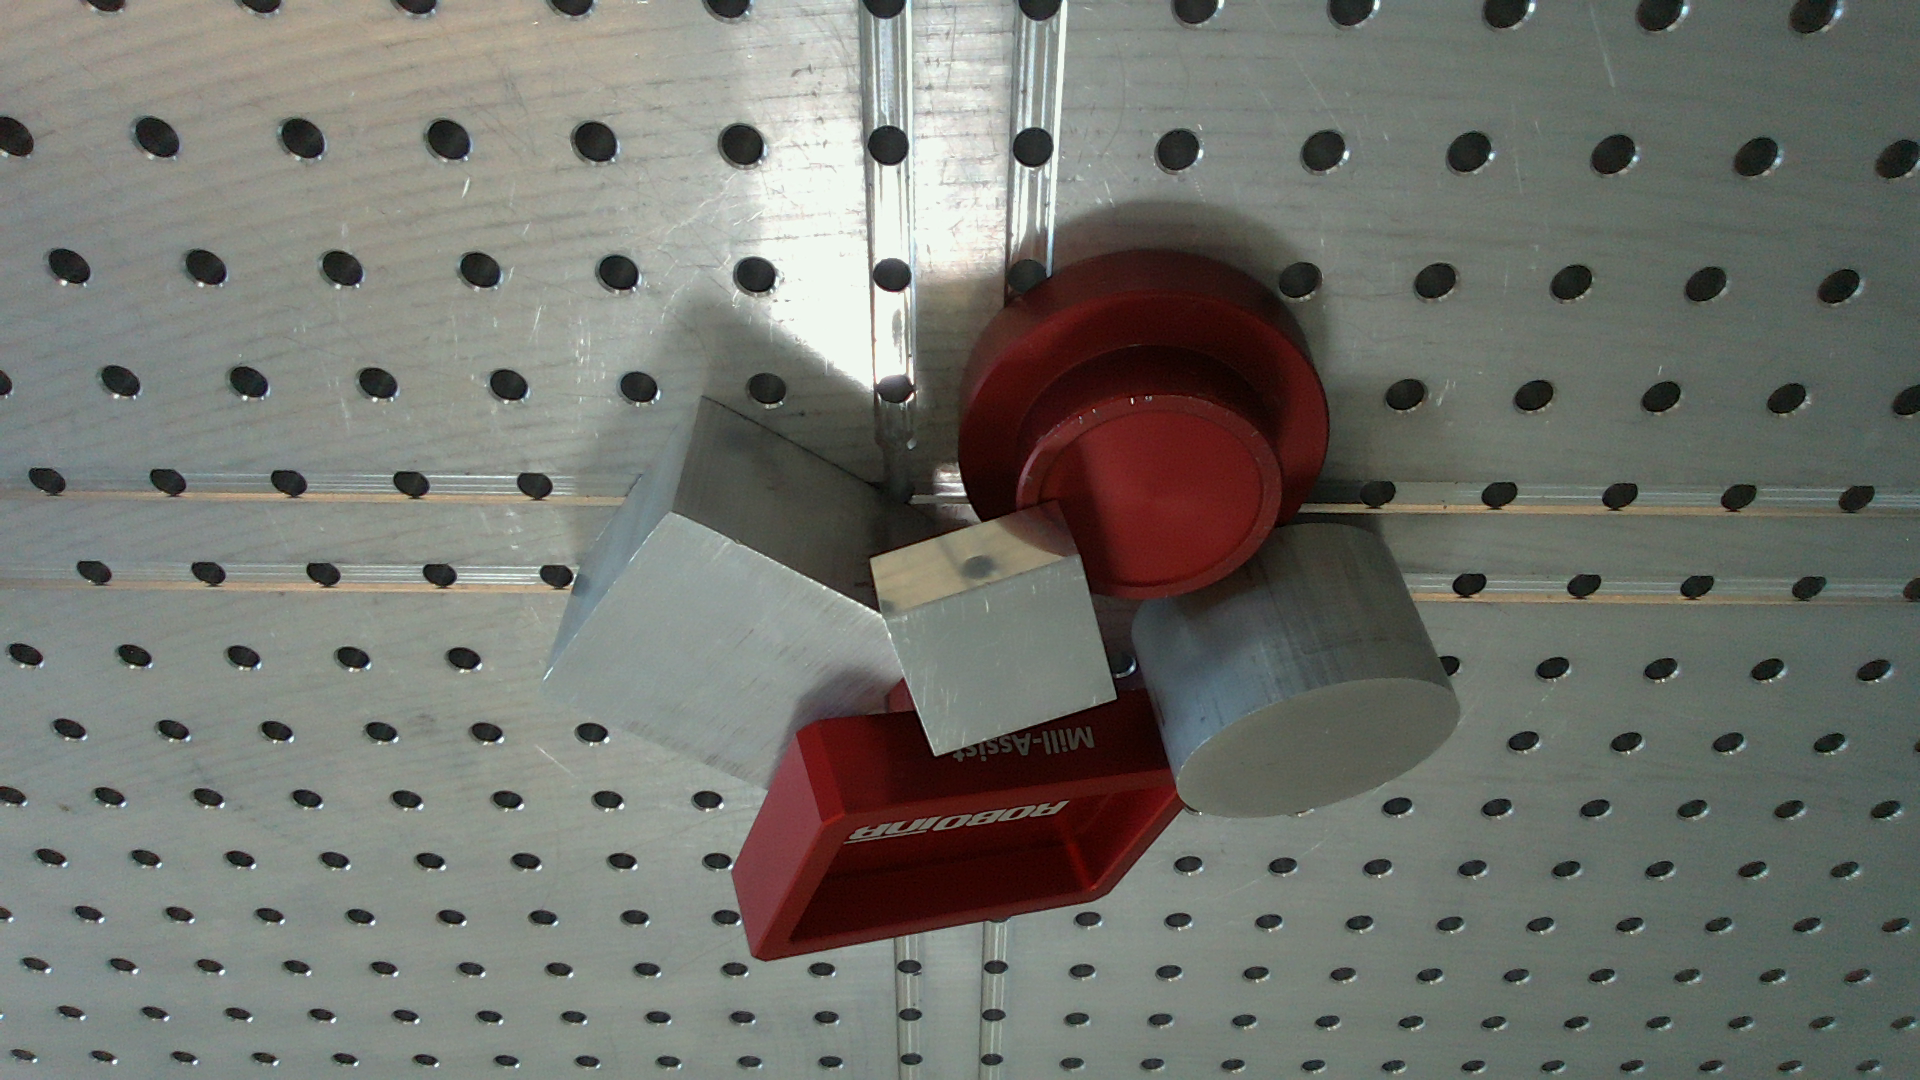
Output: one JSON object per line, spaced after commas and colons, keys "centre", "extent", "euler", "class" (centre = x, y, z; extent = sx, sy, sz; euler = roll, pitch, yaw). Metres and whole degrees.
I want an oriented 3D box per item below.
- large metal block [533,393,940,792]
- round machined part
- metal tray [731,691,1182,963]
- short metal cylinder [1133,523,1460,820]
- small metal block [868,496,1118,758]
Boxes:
{"centre": [-0.062, 0.019, 0.392], "extent": [0.080, 0.050, 0.080], "euler": [28, 124, -22], "class": "large metal block"}
{"centre": [0.049, -0.023, 0.363], "extent": [0.098, 0.042, 0.098], "euler": [0, 130, 0], "class": "round machined part"}
{"centre": [0.003, 0.088, 0.427], "extent": [0.130, 0.030, 0.090], "euler": [-2, 141, -28], "class": "metal tray"}
{"centre": [0.095, 0.039, 0.396], "extent": [0.080, 0.050, 0.080], "euler": [-9, 145, -6], "class": "short metal cylinder"}
{"centre": [0.009, 0.023, 0.352], "extent": [0.050, 0.025, 0.050], "euler": [-17, 126, 0], "class": "small metal block"}
